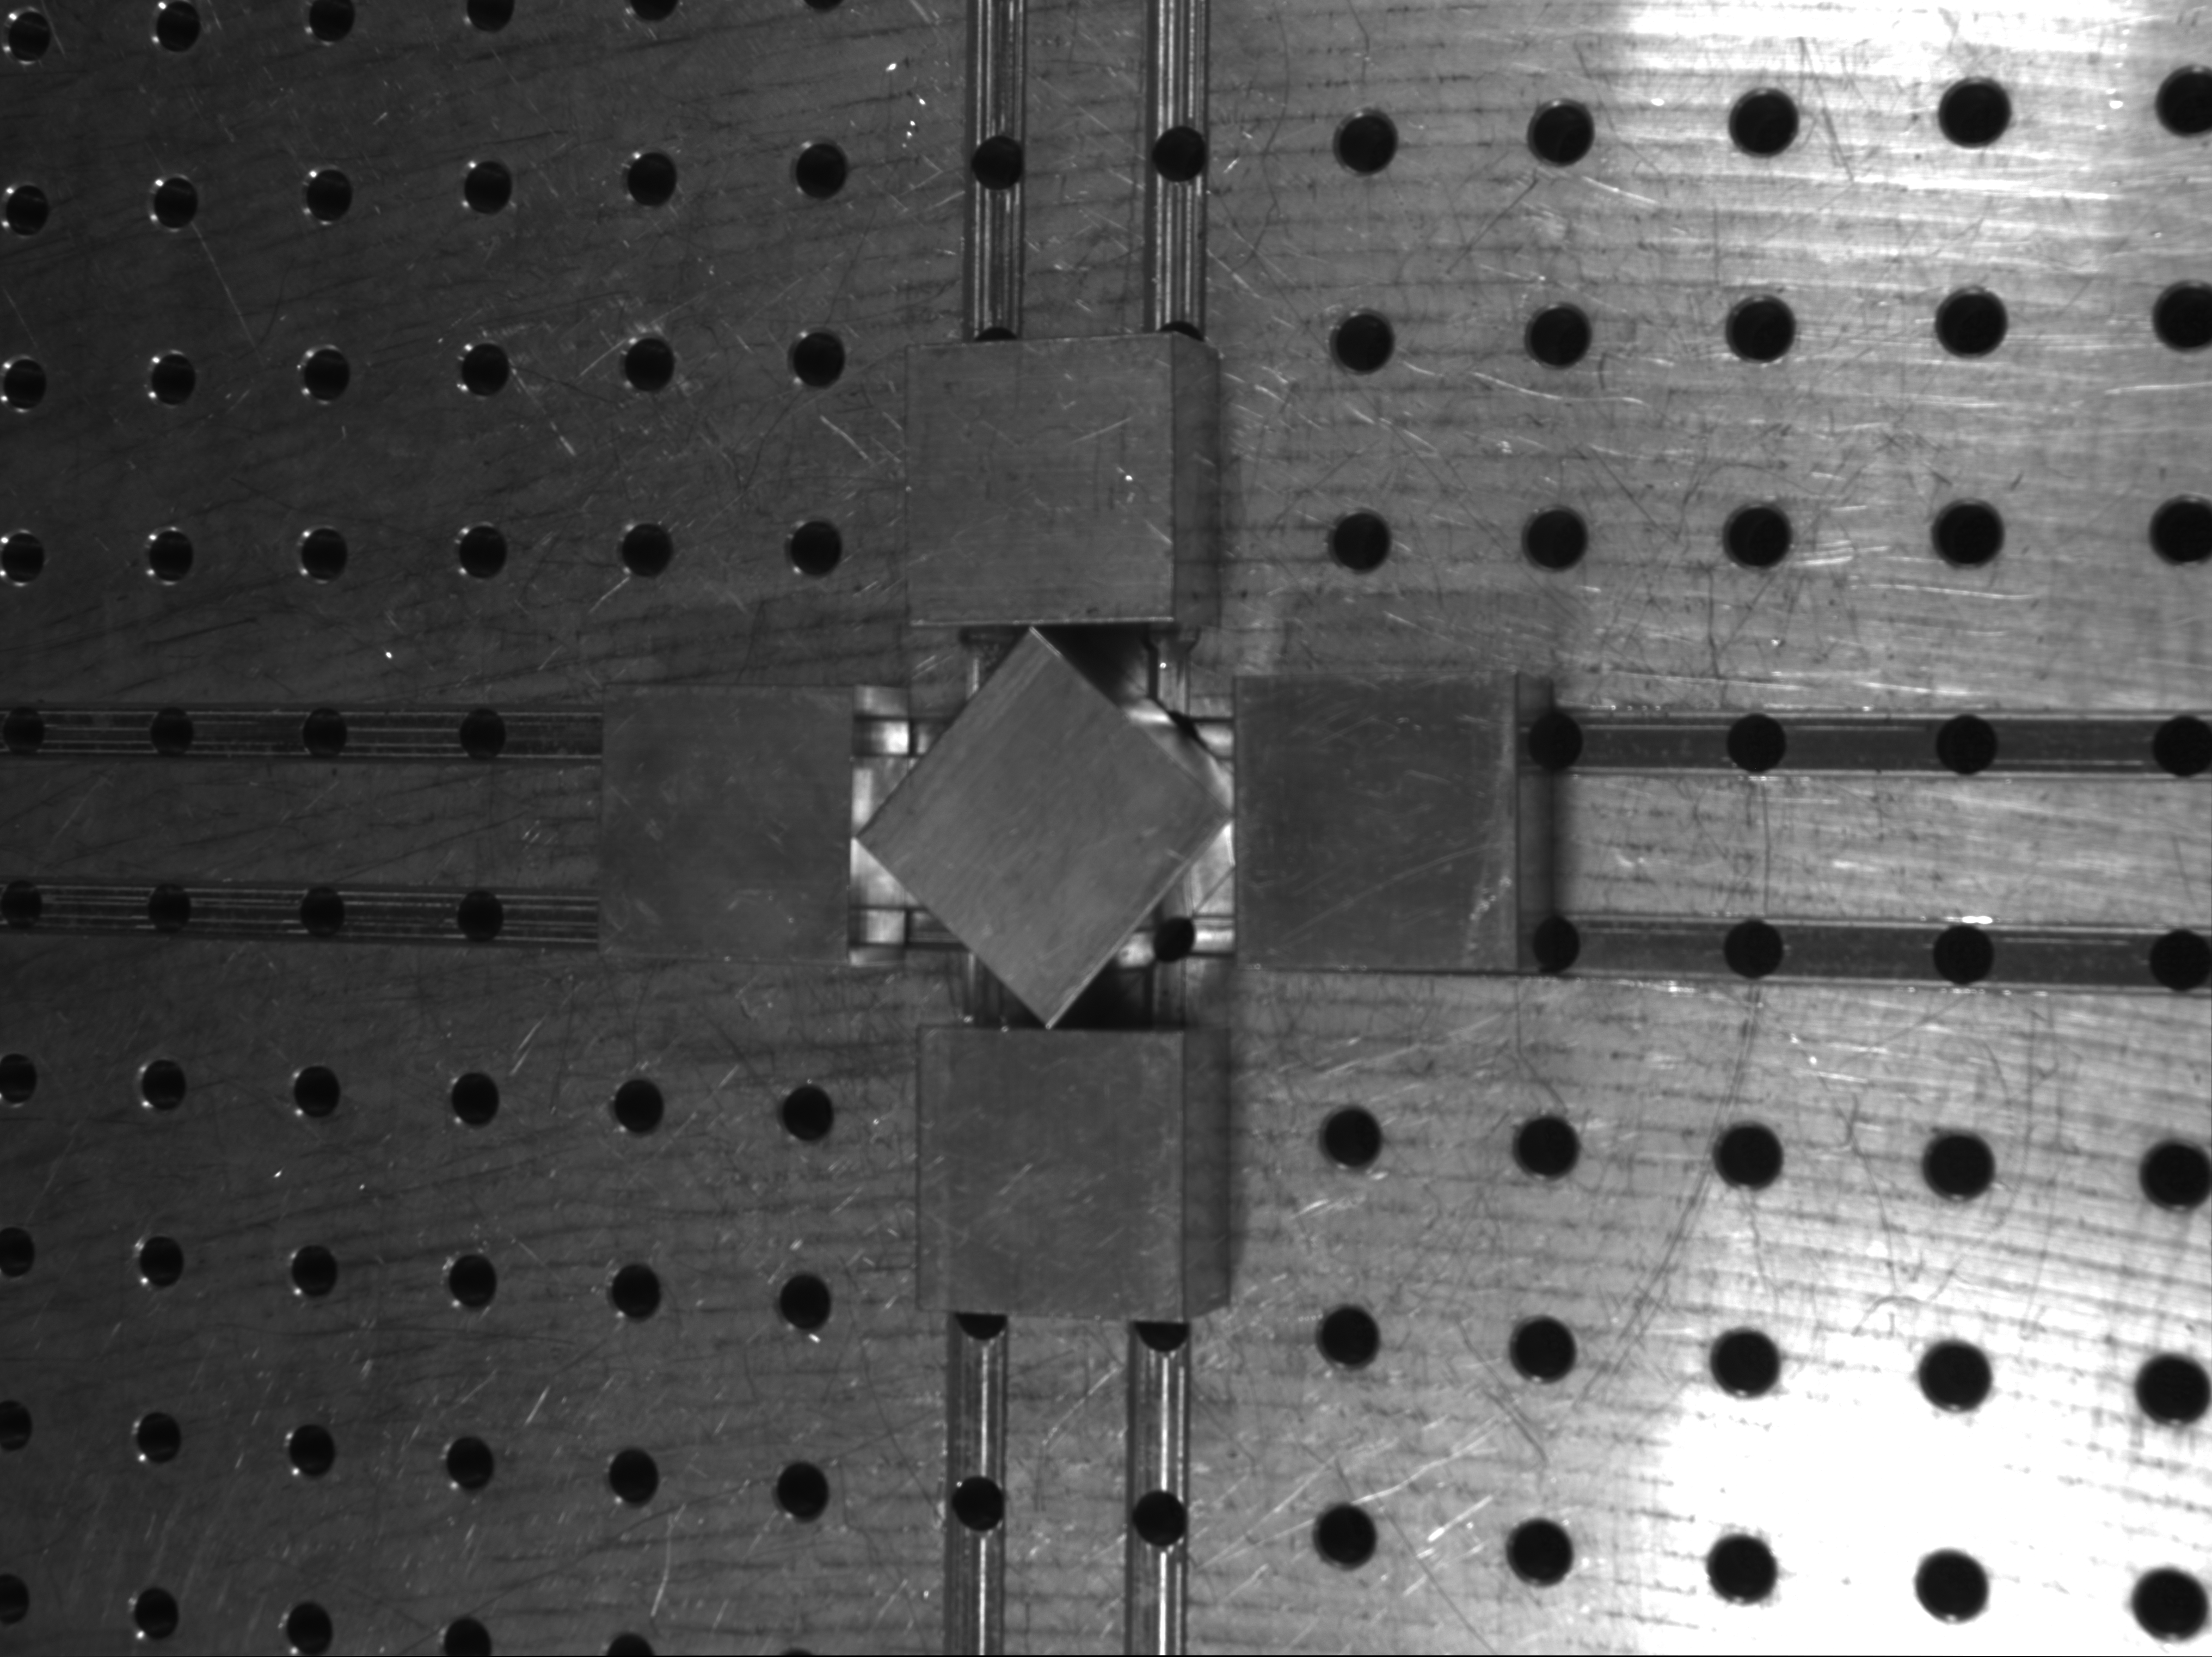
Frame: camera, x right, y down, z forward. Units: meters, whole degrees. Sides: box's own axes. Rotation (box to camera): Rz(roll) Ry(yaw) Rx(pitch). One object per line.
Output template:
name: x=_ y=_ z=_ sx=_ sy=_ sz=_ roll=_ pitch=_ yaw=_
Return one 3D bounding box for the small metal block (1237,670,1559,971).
small metal block: x=0.050 y=-0.001 z=0.629 sx=0.050 sy=0.025 sz=0.050 roll=0 pitch=90 yaw=20

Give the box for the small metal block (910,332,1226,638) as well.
small metal block: x=-0.007 y=-0.060 z=0.649 sx=0.050 sy=0.025 sz=0.050 roll=-1 pitch=90 yaw=20

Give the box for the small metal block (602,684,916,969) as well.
small metal block: x=-0.063 y=-0.001 z=0.669 sx=0.050 sy=0.025 sz=0.050 roll=1 pitch=90 yaw=20

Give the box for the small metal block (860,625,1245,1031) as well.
small metal block: x=-0.006 y=0.000 z=0.649 sx=0.050 sy=0.025 sz=0.050 roll=44 pitch=103 yaw=15

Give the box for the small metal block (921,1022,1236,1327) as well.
small metal block: x=-0.005 y=0.060 z=0.648 sx=0.050 sy=0.025 sz=0.050 roll=0 pitch=90 yaw=20
